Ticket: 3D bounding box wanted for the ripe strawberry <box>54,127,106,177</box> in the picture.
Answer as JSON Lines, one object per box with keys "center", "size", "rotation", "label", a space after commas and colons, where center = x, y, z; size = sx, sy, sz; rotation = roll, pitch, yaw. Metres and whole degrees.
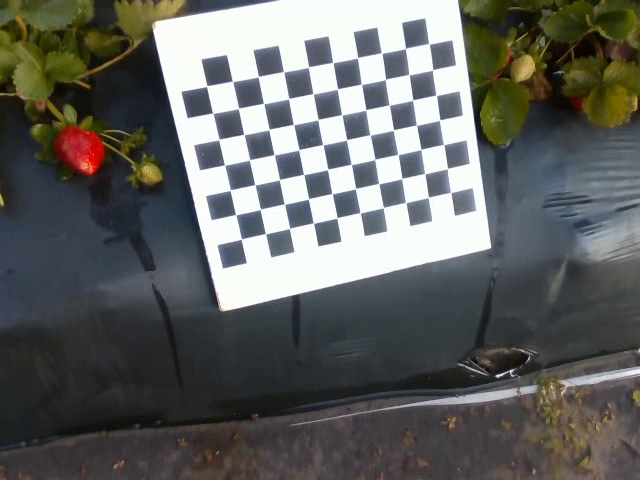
{"center": [-0.218, -0.077, 0.551], "size": [0.052, 0.043, 0.057], "rotation": [51, 2, -43], "label": "ripe strawberry"}
